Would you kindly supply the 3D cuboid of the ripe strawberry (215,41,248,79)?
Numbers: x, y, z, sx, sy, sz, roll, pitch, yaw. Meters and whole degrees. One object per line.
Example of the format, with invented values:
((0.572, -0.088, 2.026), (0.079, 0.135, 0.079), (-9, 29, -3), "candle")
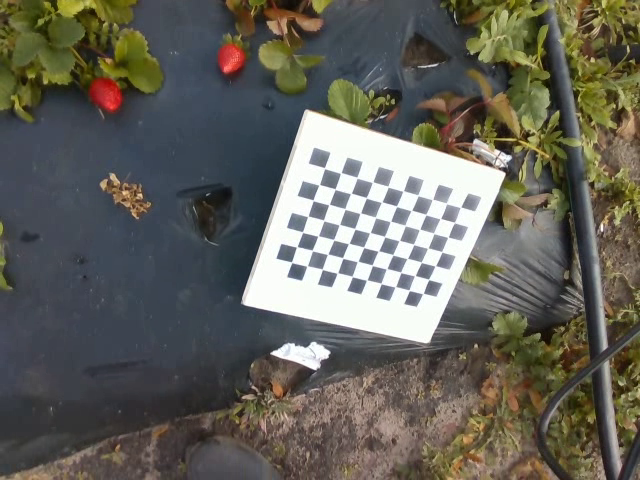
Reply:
((-0.115, -0.225, 0.863), (0.041, 0.052, 0.044), (-16, -43, 41), "ripe strawberry")

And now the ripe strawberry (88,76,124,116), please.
((-0.260, -0.172, 0.831), (0.050, 0.046, 0.050), (13, 37, -28), "ripe strawberry")
